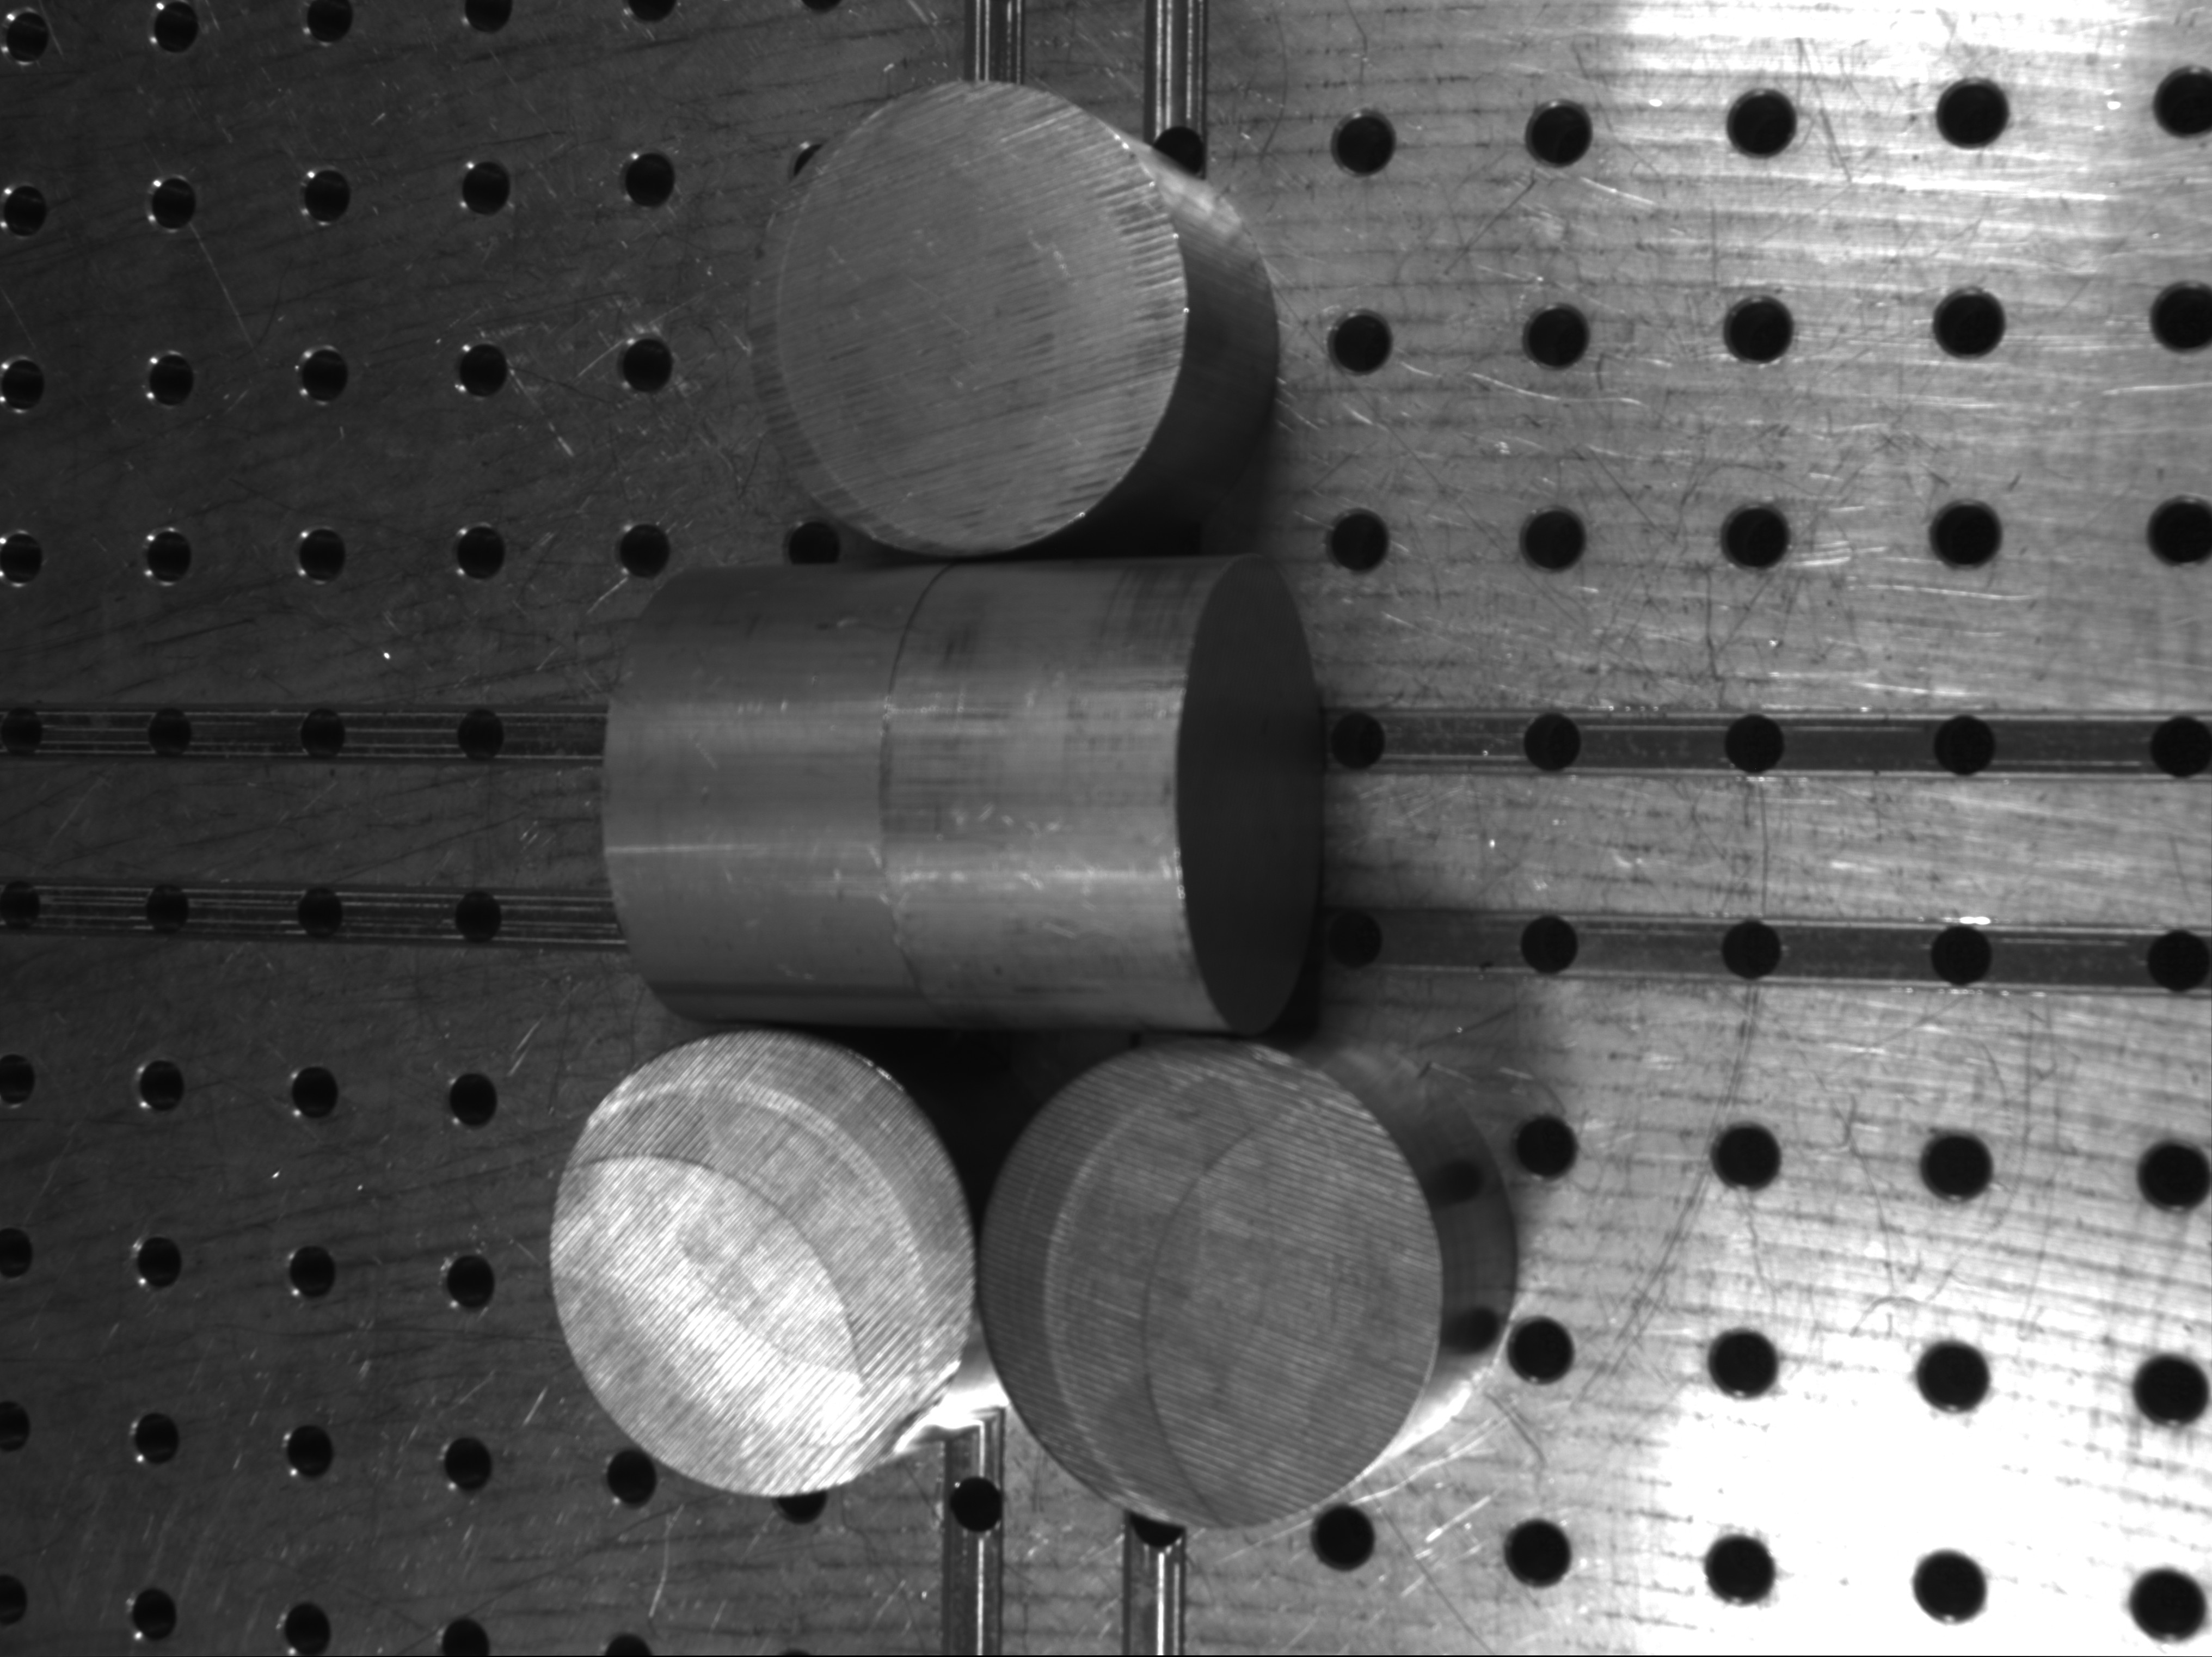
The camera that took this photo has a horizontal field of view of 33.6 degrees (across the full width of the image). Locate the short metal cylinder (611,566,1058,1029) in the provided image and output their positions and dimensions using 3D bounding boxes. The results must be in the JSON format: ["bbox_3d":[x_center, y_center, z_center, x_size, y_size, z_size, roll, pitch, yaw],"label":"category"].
[{"bbox_3d":[-0.045,-0.006,0.634,0.050,0.080,0.080,0,90,20],"label":"short metal cylinder"}]

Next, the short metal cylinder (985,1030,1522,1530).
[{"bbox_3d":[0.026,0.075,0.623,0.080,0.050,0.080,0,90,20],"label":"short metal cylinder"}]

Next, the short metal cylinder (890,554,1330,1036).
[{"bbox_3d":[0.002,-0.006,0.617,0.050,0.080,0.080,0,90,20],"label":"short metal cylinder"}]

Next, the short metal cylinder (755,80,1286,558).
[{"bbox_3d":[-0.014,-0.086,0.639,0.080,0.050,0.080,0,90,20],"label":"short metal cylinder"}]

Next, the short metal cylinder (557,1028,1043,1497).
[{"bbox_3d":[-0.050,0.074,0.650,0.080,0.050,0.080,0,90,20],"label":"short metal cylinder"}]
